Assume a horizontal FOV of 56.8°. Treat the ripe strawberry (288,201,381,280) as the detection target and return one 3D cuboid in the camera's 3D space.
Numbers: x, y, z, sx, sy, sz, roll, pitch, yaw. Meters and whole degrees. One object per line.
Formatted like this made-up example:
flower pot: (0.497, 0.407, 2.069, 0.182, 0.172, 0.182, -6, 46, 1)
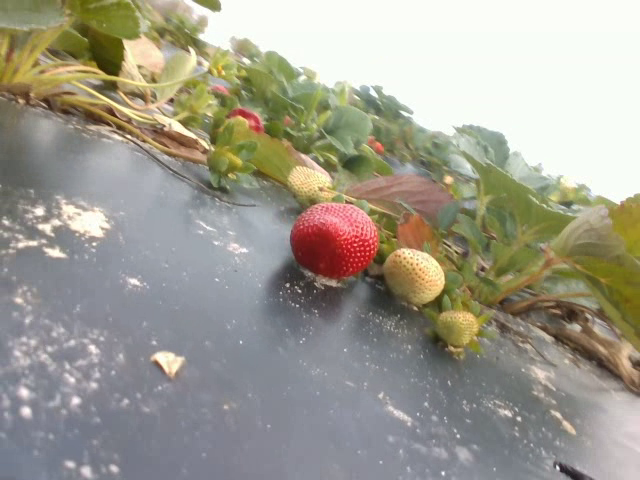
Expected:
ripe strawberry: (0.007, -0.003, 0.267, 0.050, 0.034, 0.059, 27, 0, 0)
